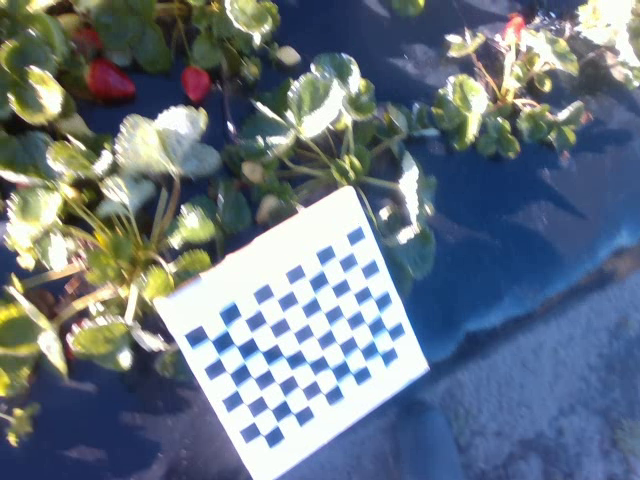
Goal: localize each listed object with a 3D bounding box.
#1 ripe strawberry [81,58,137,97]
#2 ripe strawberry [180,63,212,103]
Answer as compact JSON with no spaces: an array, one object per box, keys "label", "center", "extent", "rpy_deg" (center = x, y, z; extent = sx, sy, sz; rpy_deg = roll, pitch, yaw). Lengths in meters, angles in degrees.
[{"label":"ripe strawberry","center":[-0.230,-0.171,0.880],"extent":[0.056,0.044,0.040],"rpy_deg":[24,-11,-28]},{"label":"ripe strawberry","center":[-0.142,-0.173,0.915],"extent":[0.039,0.047,0.040],"rpy_deg":[12,-16,-30]}]
